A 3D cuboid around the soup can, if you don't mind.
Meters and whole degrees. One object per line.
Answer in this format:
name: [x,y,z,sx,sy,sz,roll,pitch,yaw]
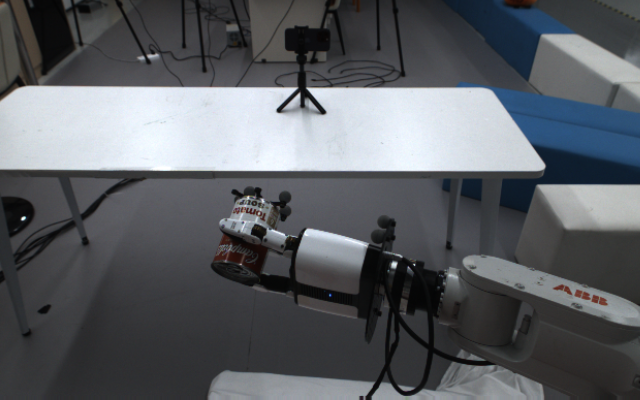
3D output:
soup can: [-0.097,0.054,0.655,0.067,0.067,0.101,9,61,10]
